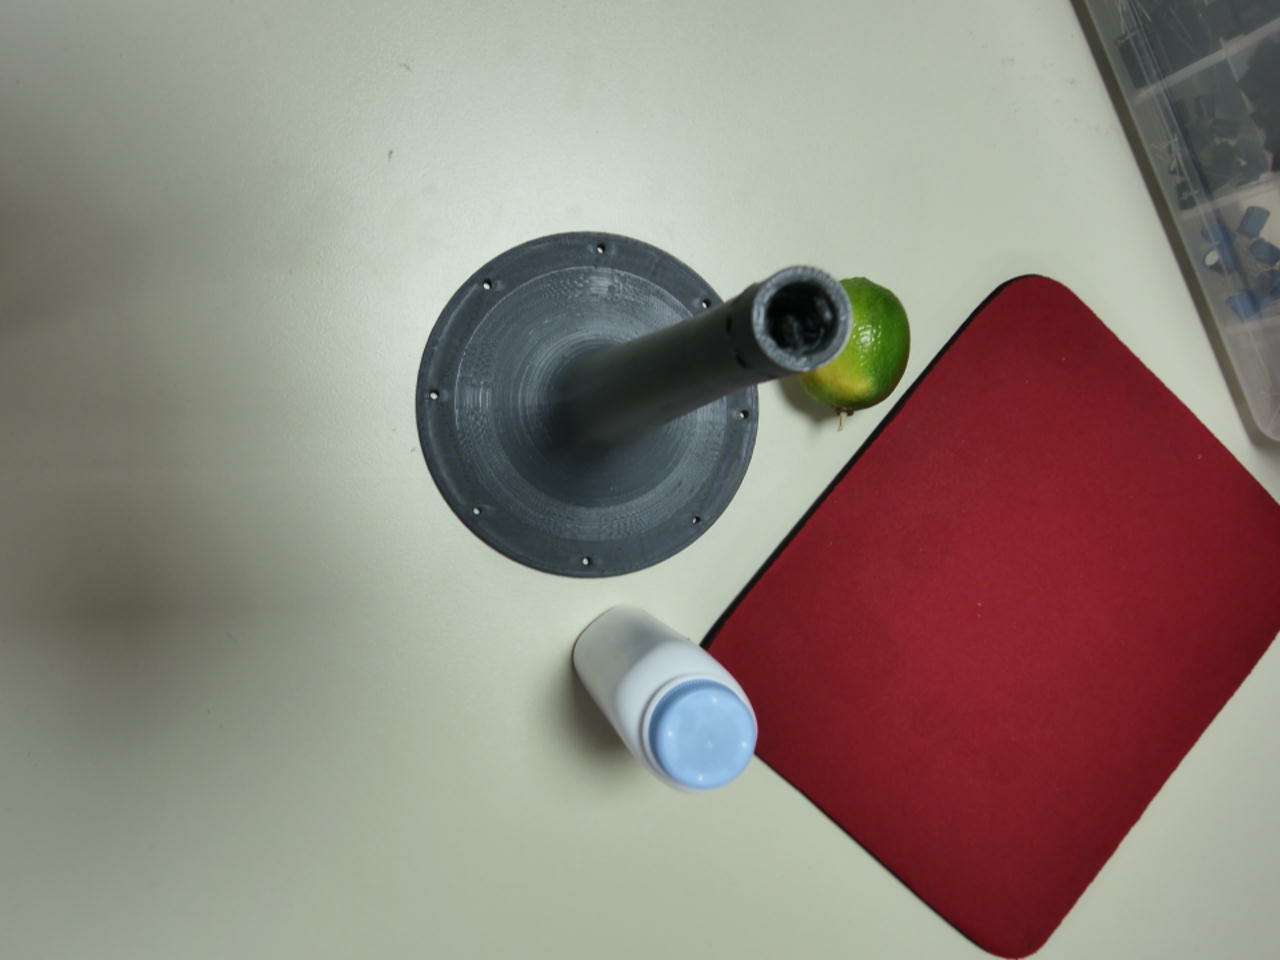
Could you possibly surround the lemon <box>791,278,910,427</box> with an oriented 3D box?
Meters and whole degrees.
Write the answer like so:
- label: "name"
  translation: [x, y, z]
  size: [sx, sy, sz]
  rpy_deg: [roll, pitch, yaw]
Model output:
- label: "lemon"
  translation: [0.092, -0.059, 0.435]
  size: [0.055, 0.050, 0.054]
  rpy_deg: [-40, 98, -9]
